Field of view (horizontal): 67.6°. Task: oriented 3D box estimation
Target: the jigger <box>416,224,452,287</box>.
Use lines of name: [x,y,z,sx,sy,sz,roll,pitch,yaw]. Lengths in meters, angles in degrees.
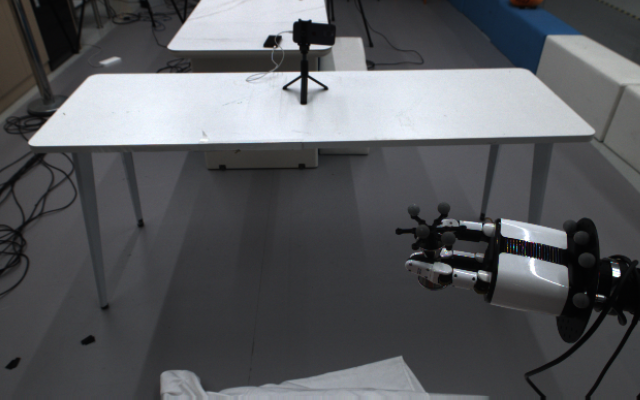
jigger: [0.153,0.079,0.659,0.043,0.071,0.043,-9,31,5]
